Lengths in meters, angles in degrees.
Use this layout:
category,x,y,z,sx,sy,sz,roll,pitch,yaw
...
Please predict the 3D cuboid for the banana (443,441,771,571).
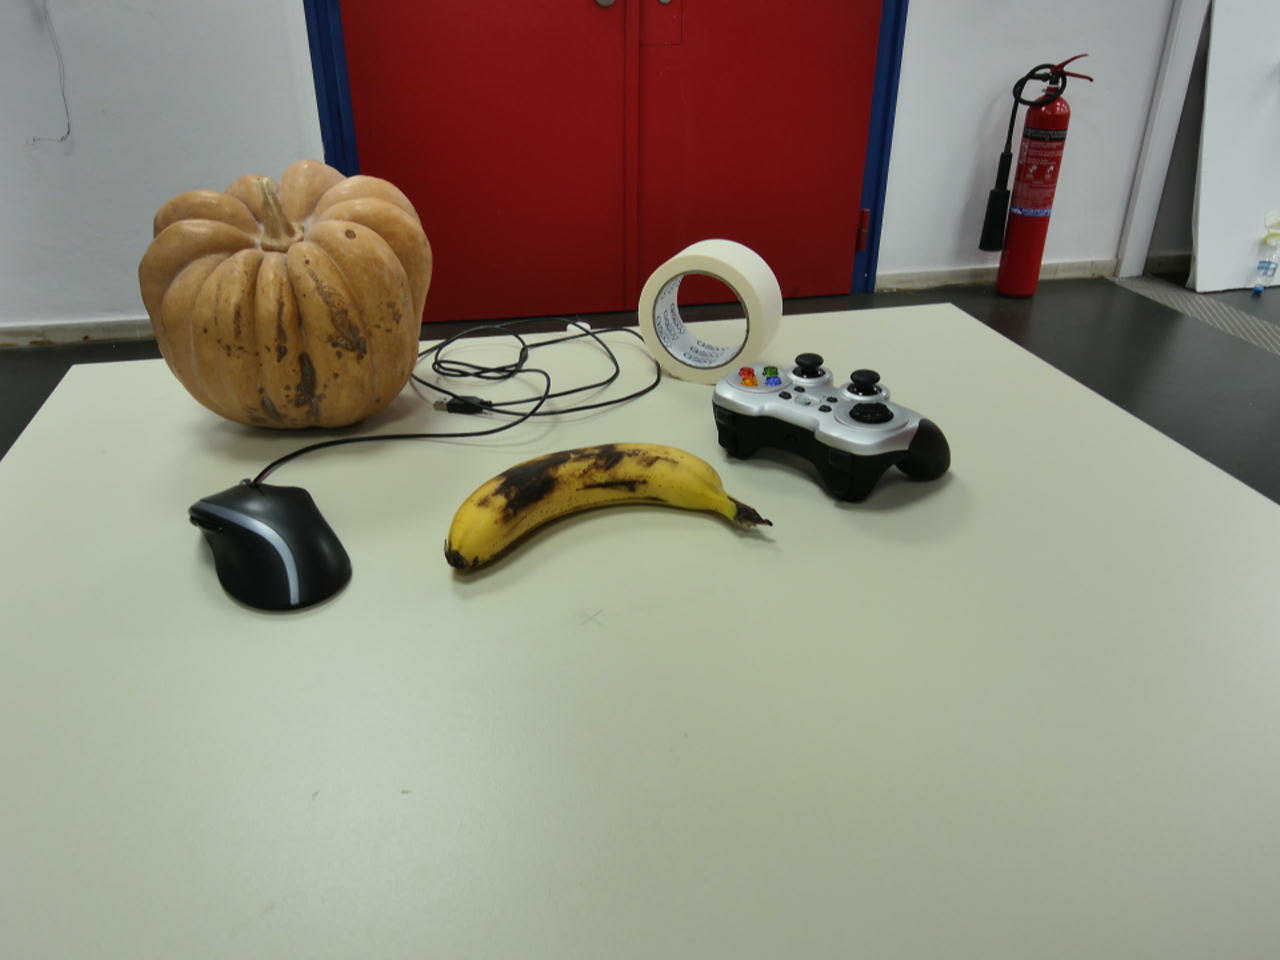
category,x,y,z,sx,sy,sz,roll,pitch,yaw
banana,-0.026,0.011,0.600,0.187,0.039,0.094,-6,27,-13
